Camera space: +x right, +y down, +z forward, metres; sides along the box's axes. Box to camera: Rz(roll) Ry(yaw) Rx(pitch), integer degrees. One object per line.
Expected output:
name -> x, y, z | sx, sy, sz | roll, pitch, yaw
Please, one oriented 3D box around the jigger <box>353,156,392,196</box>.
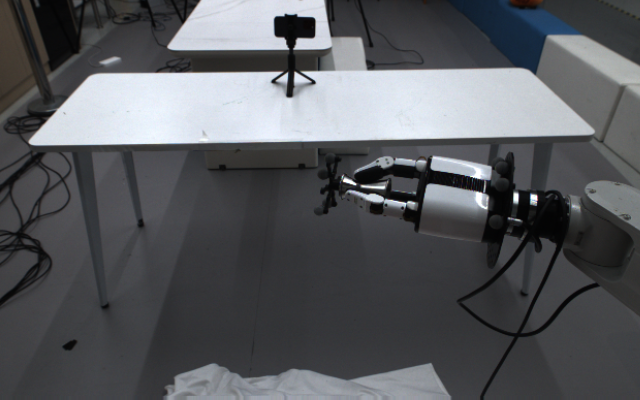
jigger -> 0.071, -0.018, 0.696 | 0.071, 0.043, 0.043 | 9, 35, 17
